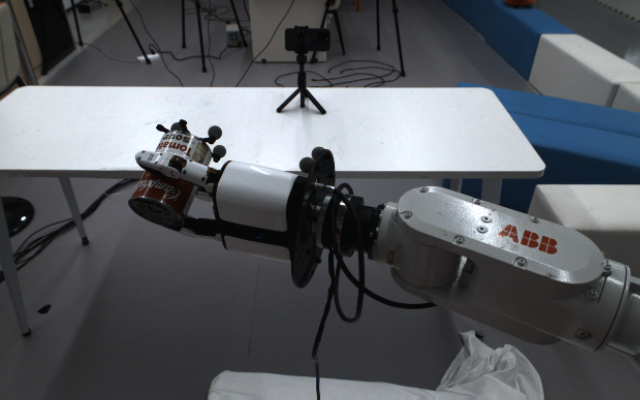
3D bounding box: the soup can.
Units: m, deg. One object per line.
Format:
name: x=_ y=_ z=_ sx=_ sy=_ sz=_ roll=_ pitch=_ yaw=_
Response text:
soup can: x=-0.181 y=-0.026 z=0.597 sx=0.067 sy=0.067 sz=0.101 roll=9 pitch=60 yaw=10
